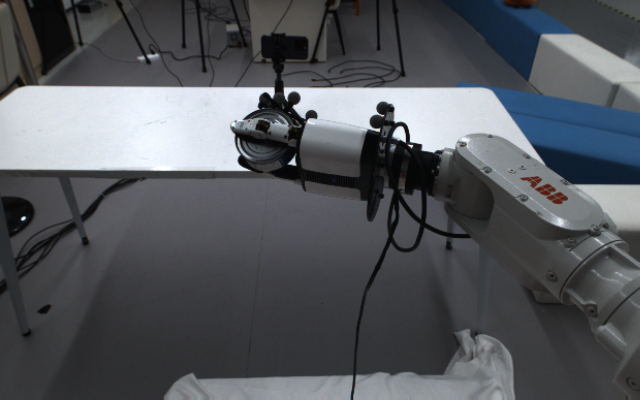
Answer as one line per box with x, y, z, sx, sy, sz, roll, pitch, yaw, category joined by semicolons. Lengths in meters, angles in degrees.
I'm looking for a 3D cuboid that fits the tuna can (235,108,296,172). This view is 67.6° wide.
-0.074;-0.087;0.684;0.085;0.034;0.085;-4;67;10;tuna can
